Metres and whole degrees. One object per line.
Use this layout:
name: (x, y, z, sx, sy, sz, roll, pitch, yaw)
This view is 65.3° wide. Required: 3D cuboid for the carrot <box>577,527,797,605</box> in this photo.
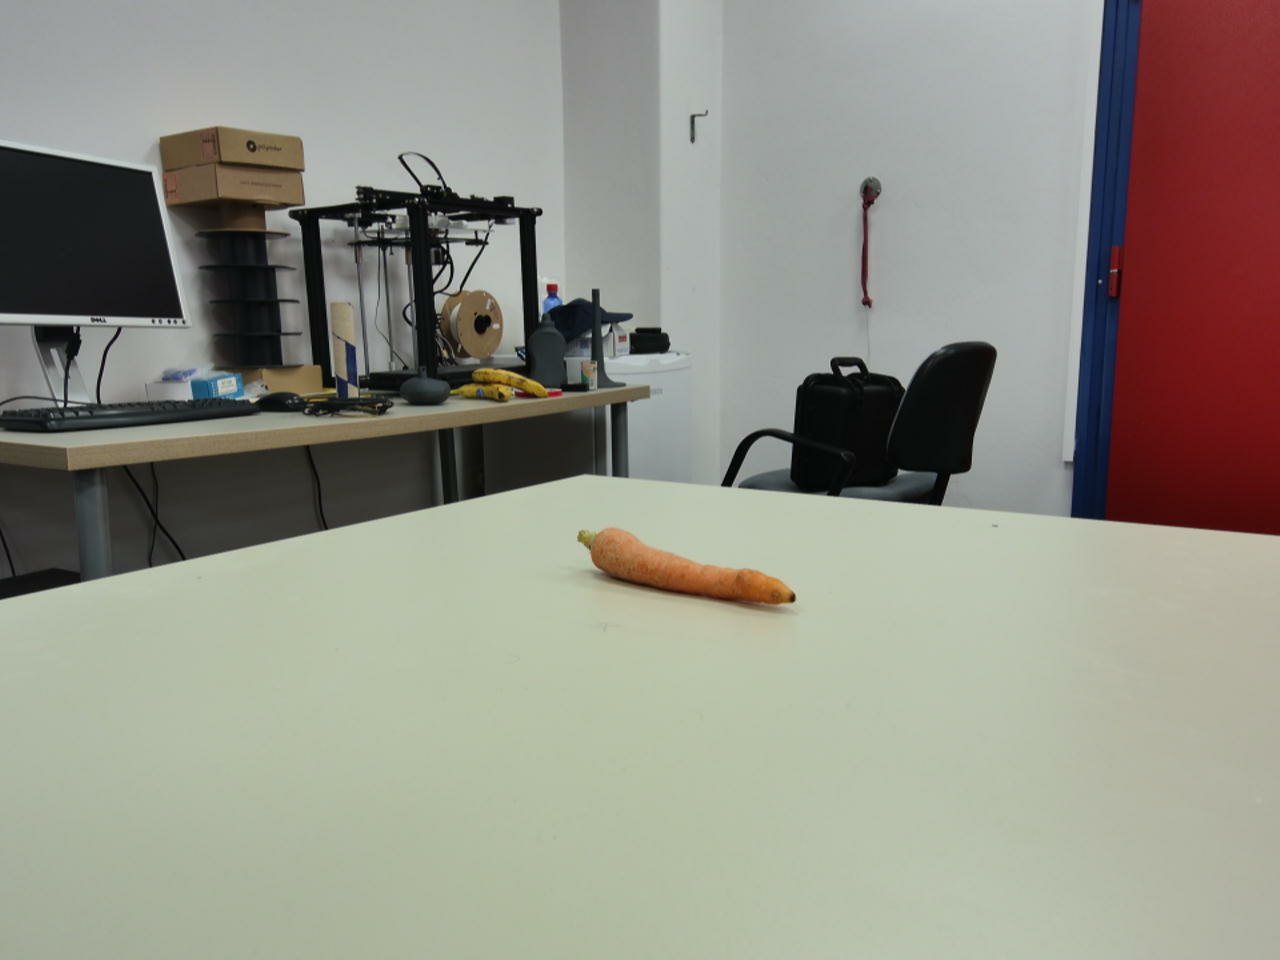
carrot: (0.024, 0.053, 0.623, 0.173, 0.032, 0.030, 7, 9, 44)
